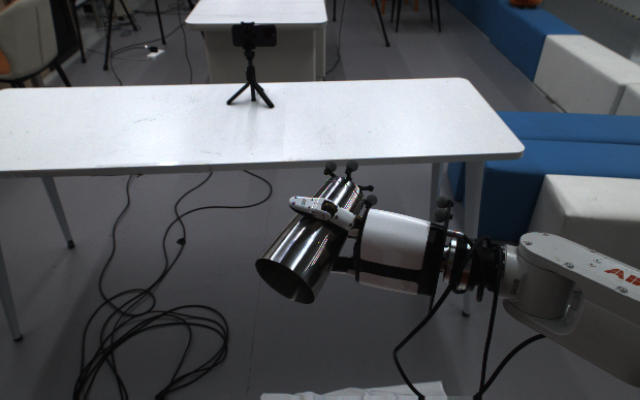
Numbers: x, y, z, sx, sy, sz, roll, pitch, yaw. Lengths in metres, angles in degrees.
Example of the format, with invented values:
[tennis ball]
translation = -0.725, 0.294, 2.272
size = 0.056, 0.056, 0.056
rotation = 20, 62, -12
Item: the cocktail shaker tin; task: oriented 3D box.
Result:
[cocktail shaker tin]
translation = -0.002, 0.043, 0.668
size = 0.093, 0.093, 0.170
rotation = 19, 55, 22
